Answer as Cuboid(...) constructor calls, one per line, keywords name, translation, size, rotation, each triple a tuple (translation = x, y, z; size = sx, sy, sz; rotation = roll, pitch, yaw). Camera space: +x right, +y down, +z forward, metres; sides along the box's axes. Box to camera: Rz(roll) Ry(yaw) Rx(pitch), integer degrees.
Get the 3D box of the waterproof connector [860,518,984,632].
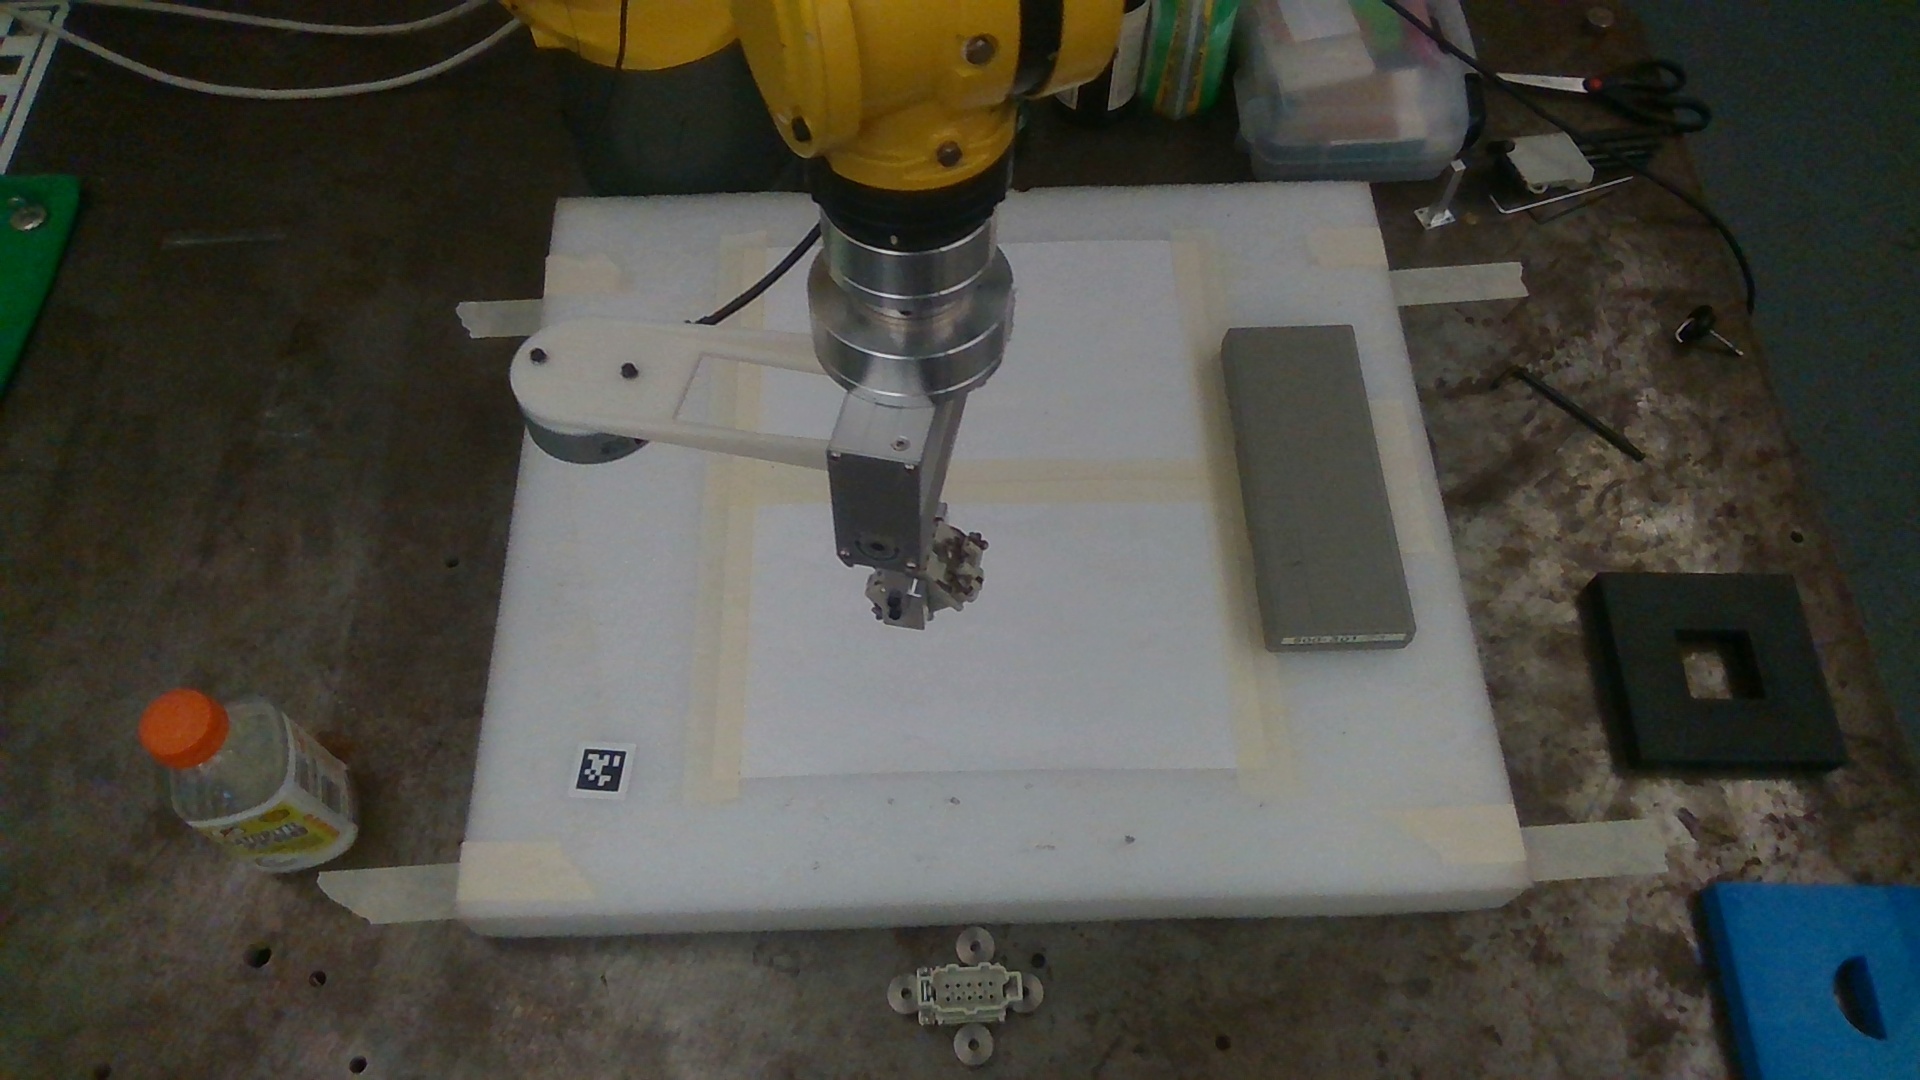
Cuboid(name="waterproof connector", translation=(-0.019, 0.019, 0.692), size=(0.069, 0.038, 0.036), rotation=(-24, 41, 35))
